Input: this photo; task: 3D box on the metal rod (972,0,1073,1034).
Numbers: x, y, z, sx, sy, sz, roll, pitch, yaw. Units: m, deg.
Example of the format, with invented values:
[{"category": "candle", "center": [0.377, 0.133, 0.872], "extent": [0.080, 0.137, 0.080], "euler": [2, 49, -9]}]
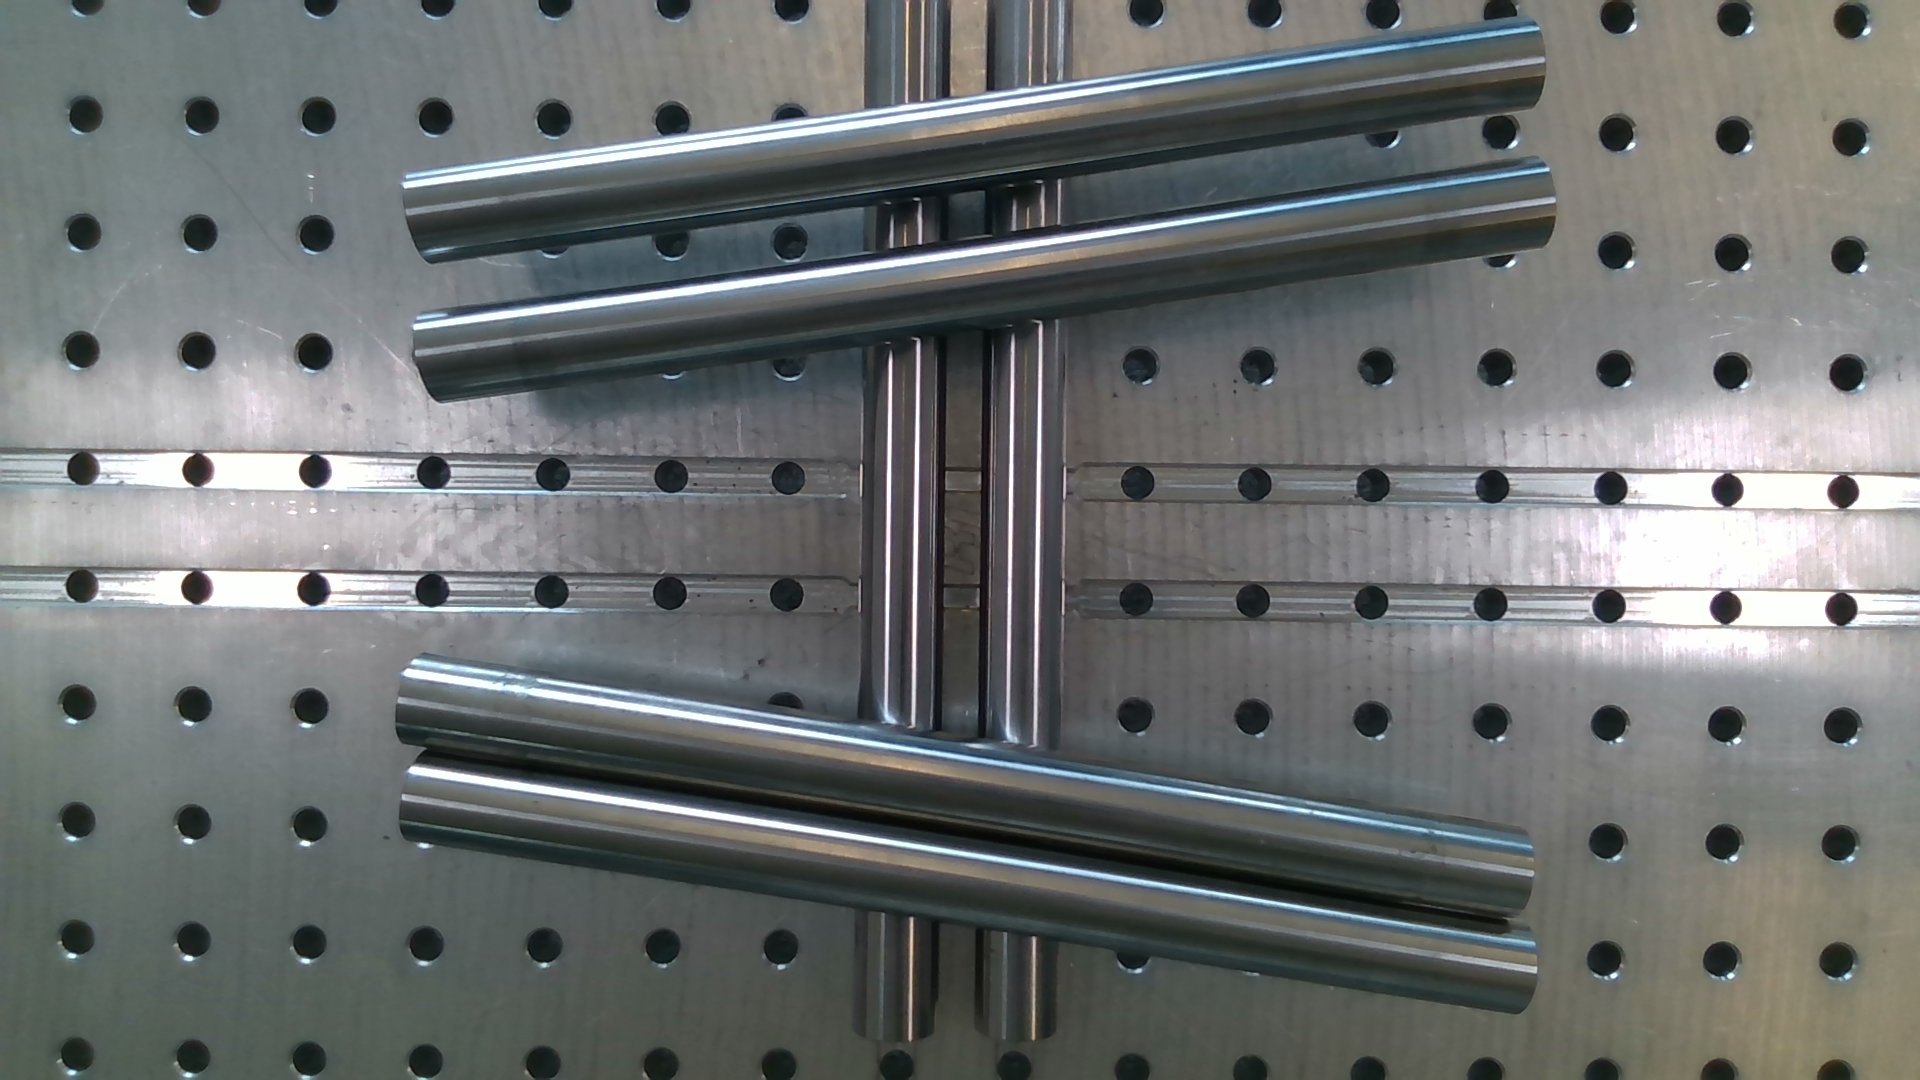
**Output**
[{"category": "metal rod", "center": [0.018, -0.011, 0.398], "extent": [0.025, 0.025, 0.300], "euler": [1, 90, 0]}]

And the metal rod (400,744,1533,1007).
[{"category": "metal rod", "center": [0.002, 0.091, 0.374], "extent": [0.300, 0.025, 0.025], "euler": [9, 90, 0]}]

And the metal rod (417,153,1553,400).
[{"category": "metal rod", "center": [0.007, -0.071, 0.373], "extent": [0.300, 0.025, 0.025], "euler": [-8, 90, 0]}]

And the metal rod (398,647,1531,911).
[{"category": "metal rod", "center": [0.001, 0.065, 0.373], "extent": [0.300, 0.025, 0.025], "euler": [9, 90, 0]}]

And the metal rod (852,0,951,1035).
[{"category": "metal rod", "center": [-0.017, -0.011, 0.398], "extent": [0.025, 0.025, 0.300], "euler": [1, 90, 0]}]

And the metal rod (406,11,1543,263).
[{"category": "metal rod", "center": [0.004, -0.109, 0.373], "extent": [0.300, 0.025, 0.025], "euler": [-8, 90, 0]}]
